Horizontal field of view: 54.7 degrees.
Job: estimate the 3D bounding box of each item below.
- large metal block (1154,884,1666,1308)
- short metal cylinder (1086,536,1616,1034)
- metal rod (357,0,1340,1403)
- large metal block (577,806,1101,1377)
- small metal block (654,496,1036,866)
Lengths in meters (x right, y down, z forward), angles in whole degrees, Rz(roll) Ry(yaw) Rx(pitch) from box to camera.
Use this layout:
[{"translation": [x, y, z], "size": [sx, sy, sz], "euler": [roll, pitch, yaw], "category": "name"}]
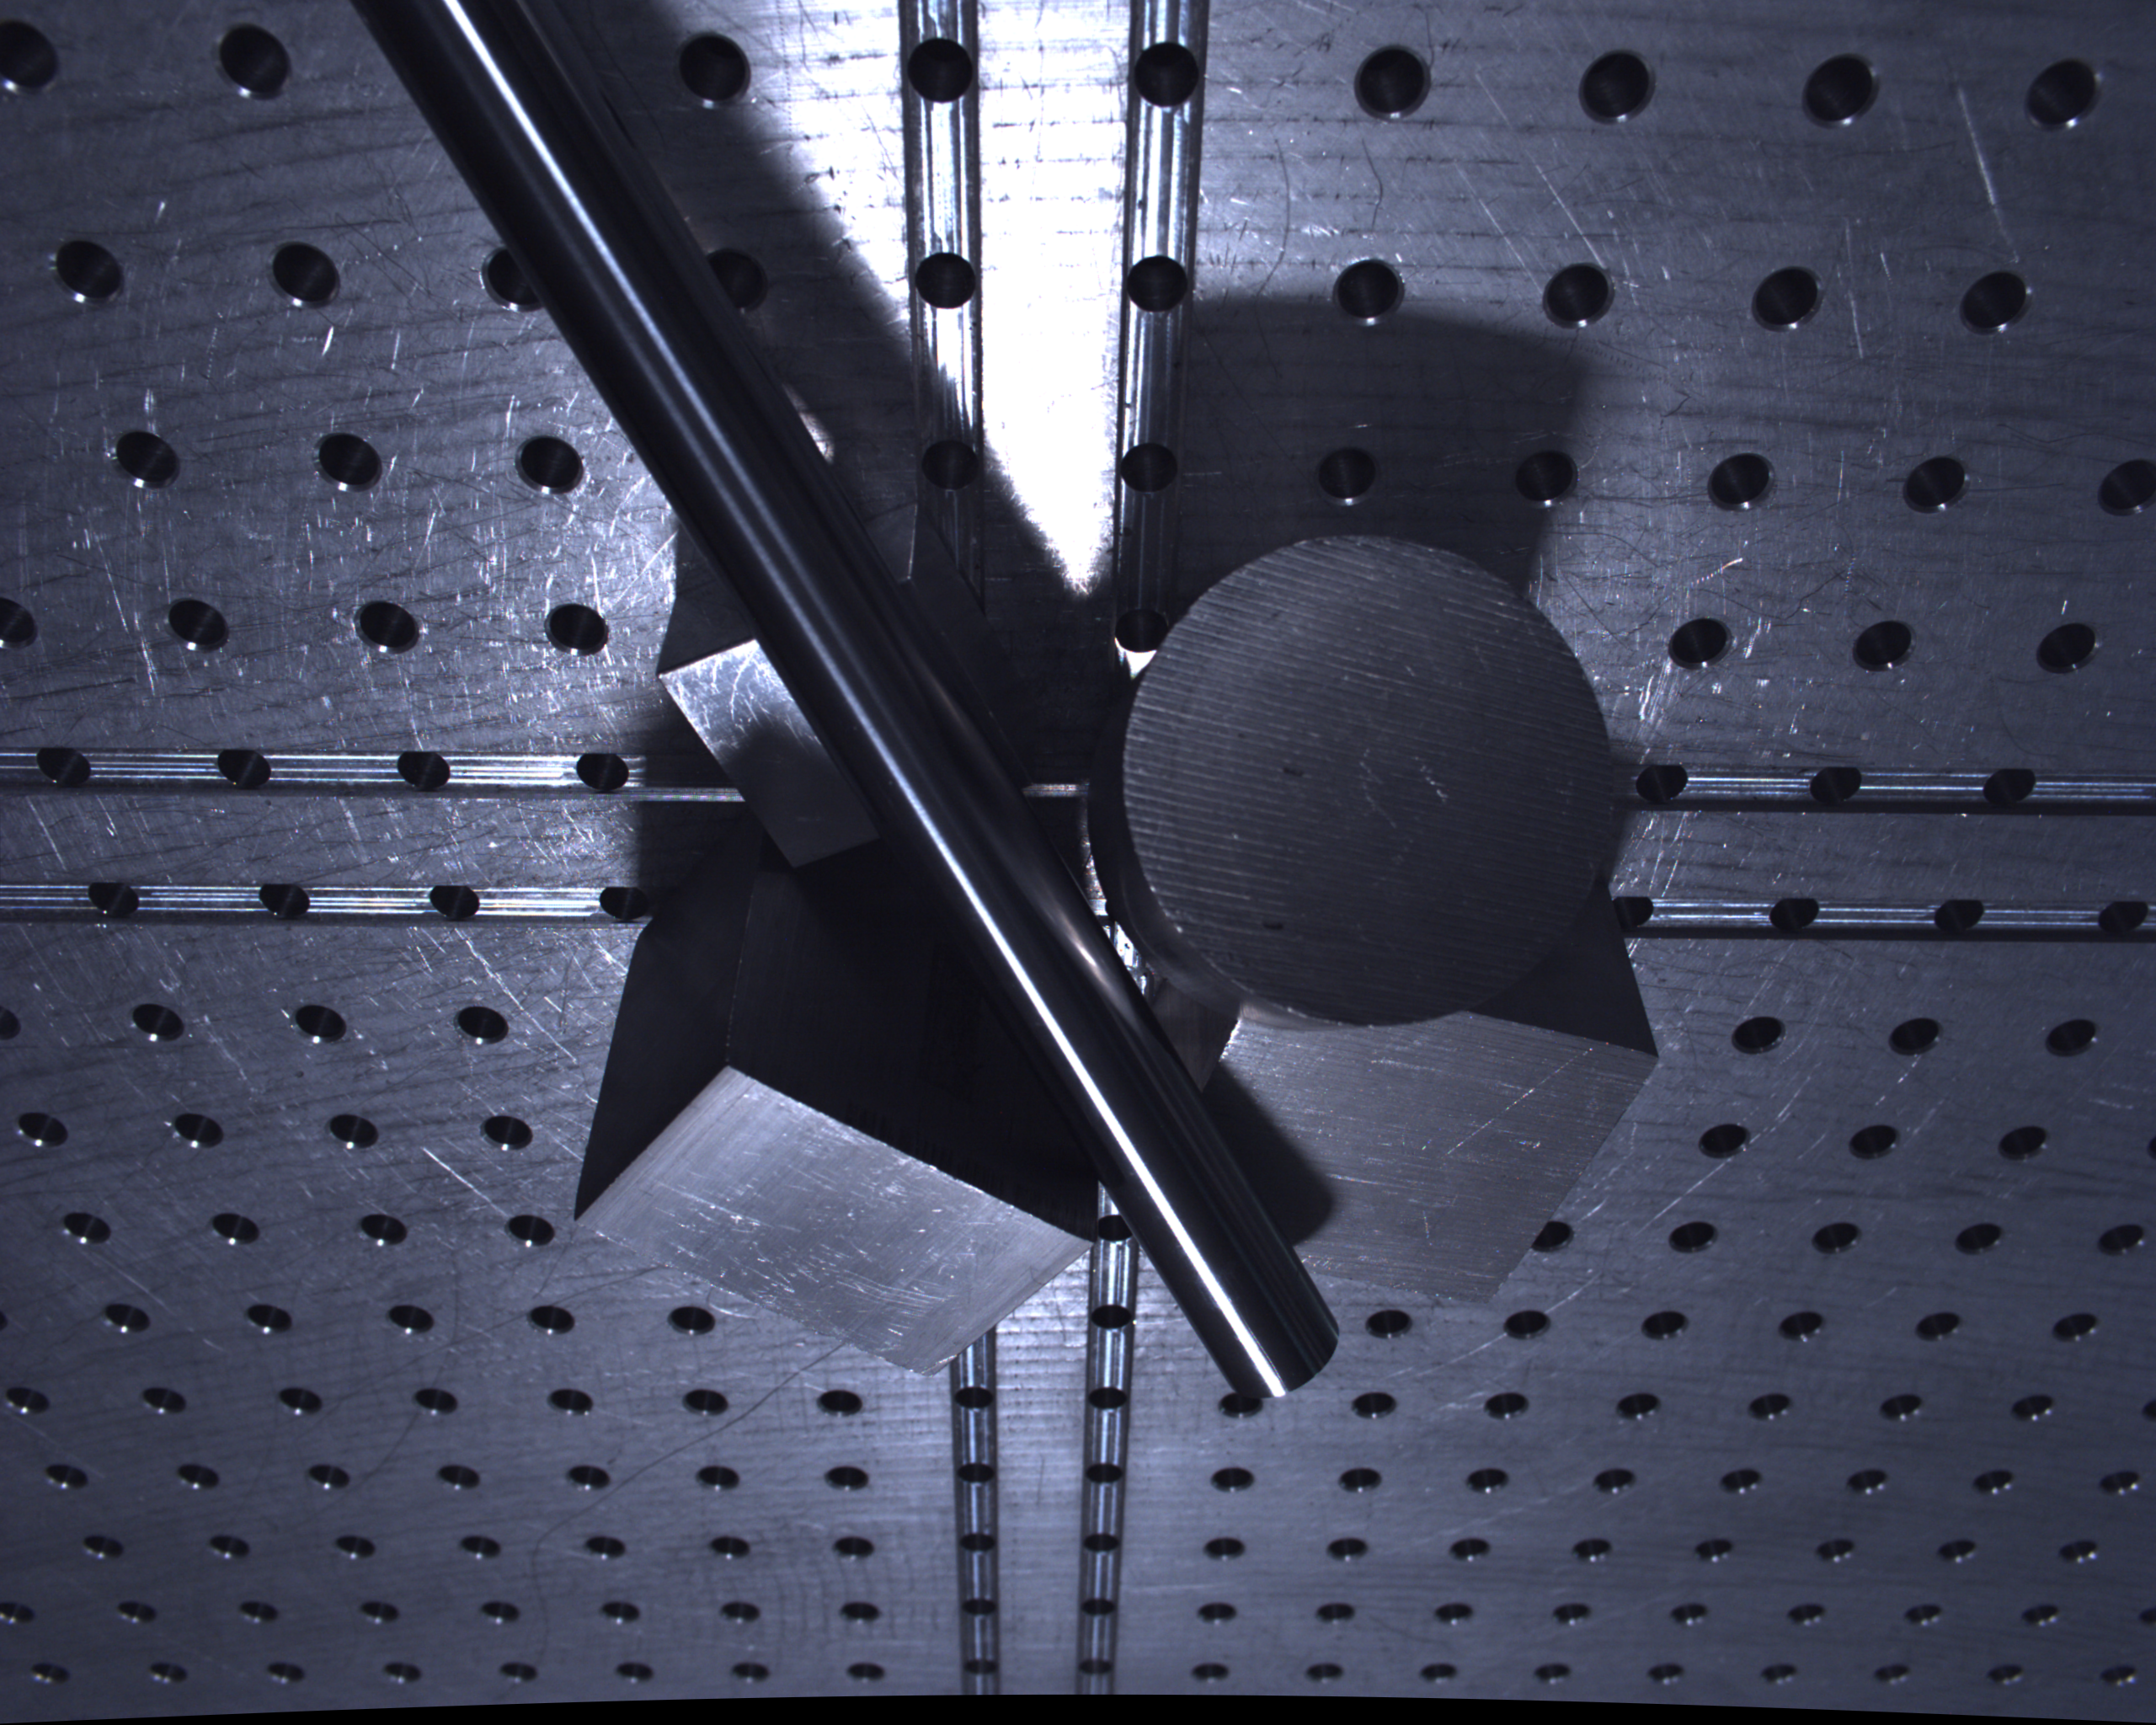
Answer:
[{"translation": [0.061, 0.041, 0.430], "size": [0.081, 0.050, 0.079], "euler": [13, 129, -12], "category": "large metal block"}, {"translation": [0.044, -0.011, 0.358], "size": [0.081, 0.080, 0.050], "euler": [7, 173, -6], "category": "short metal cylinder"}, {"translation": [-0.028, -0.019, 0.355], "size": [0.025, 0.025, 0.299], "euler": [-22, 116, 17], "category": "metal rod"}, {"translation": [-0.043, 0.041, 0.410], "size": [0.080, 0.080, 0.050], "euler": [30, 124, -23], "category": "large metal block"}, {"translation": [-0.041, -0.032, 0.384], "size": [0.050, 0.025, 0.050], "euler": [-19, 128, 15], "category": "small metal block"}]
